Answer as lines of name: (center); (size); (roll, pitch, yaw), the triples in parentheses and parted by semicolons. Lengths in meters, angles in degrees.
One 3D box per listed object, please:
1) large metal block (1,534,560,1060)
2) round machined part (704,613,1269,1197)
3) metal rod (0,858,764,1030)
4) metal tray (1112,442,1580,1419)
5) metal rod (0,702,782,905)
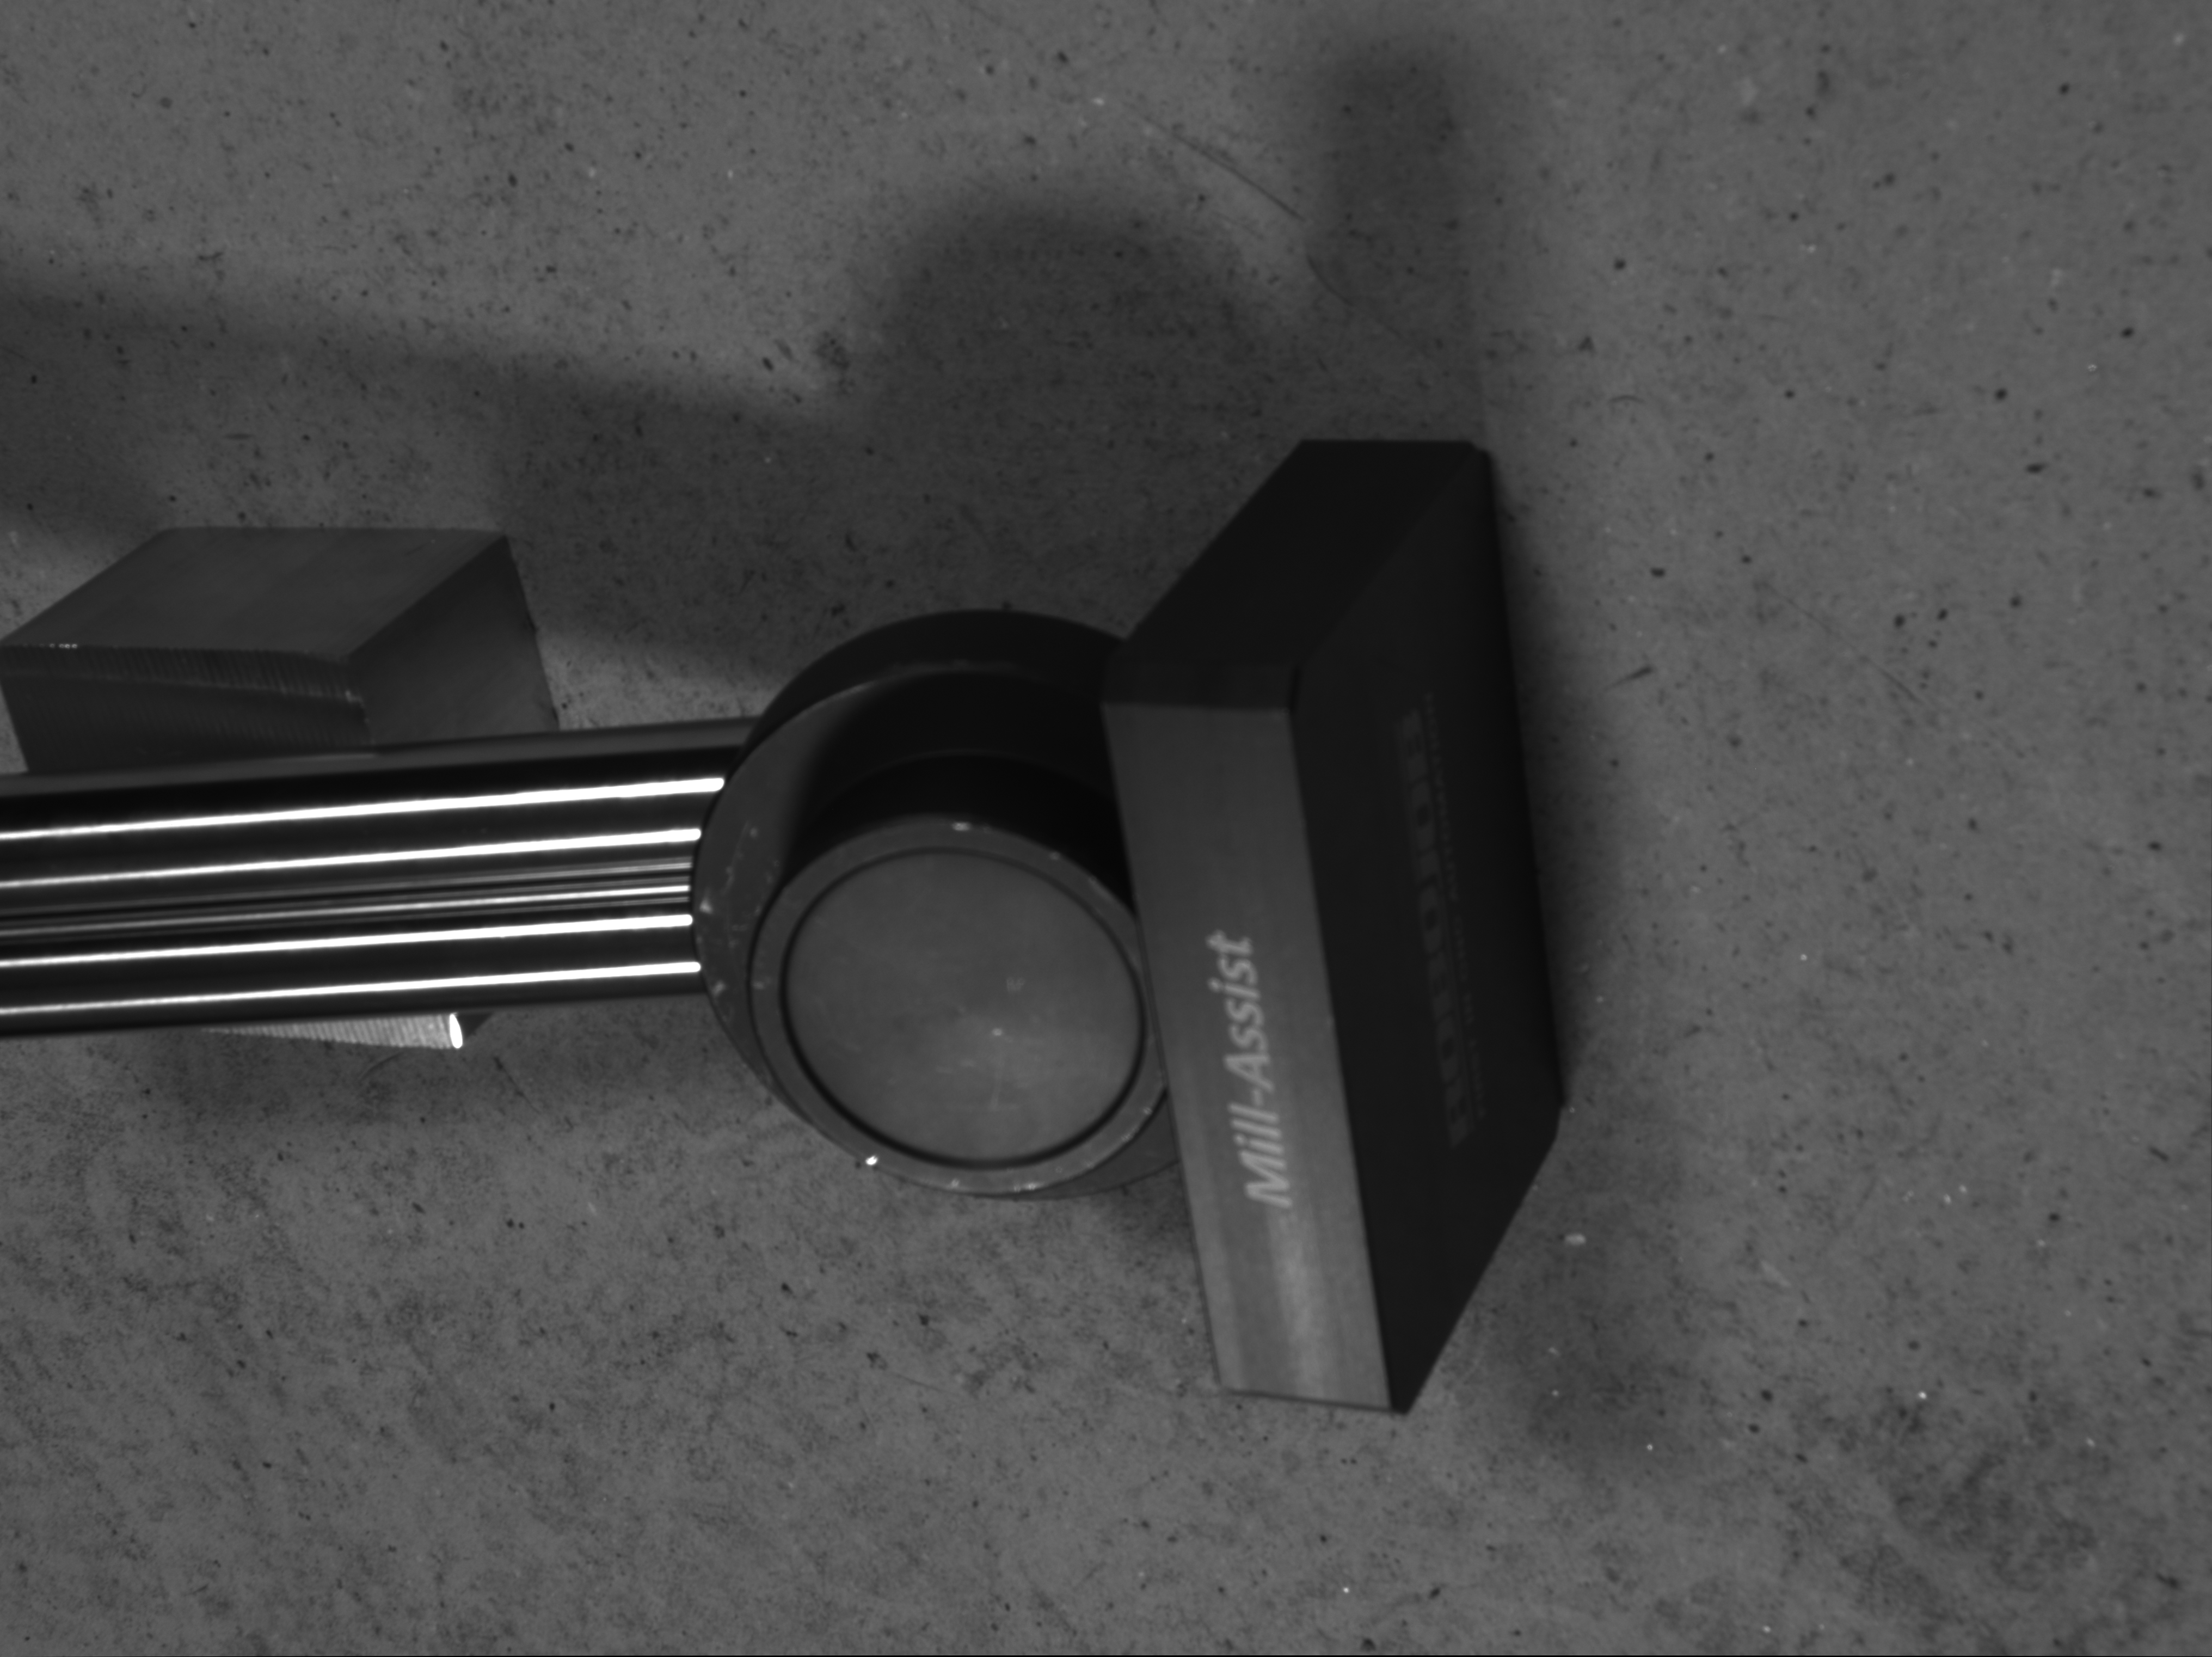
large metal block: (-0.146, -0.007, 0.680); (0.080, 0.050, 0.080); (3, 120, 25)
round machined part: (-0.017, 0.019, 0.578); (0.098, 0.042, 0.098); (6, 121, 11)
metal rod: (-0.100, 0.018, 0.635); (0.300, 0.025, 0.025); (-3, 117, 14)
metal tray: (0.041, 0.015, 0.577); (0.030, 0.090, 0.130); (3, 120, 25)
metal rod: (-0.104, -0.005, 0.623); (0.300, 0.025, 0.025); (-4, 117, 14)
